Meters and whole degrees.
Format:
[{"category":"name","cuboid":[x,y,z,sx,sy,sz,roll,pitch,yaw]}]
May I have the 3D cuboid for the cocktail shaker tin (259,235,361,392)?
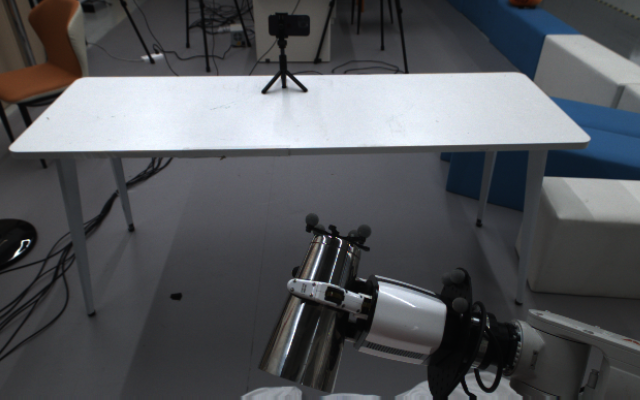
[{"category":"cocktail shaker tin","cuboid":[-0.004,0.134,0.588,0.093,0.093,0.170,13,71,15]}]
